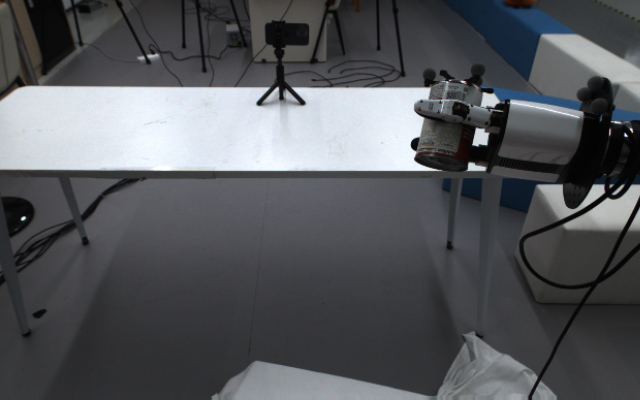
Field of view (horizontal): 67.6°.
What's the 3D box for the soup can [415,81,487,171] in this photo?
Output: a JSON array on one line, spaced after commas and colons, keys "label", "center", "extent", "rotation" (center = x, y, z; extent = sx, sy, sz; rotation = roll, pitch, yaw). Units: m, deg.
[{"label": "soup can", "center": [0.167, -0.096, 0.623], "extent": [0.067, 0.101, 0.067], "rotation": [13, -7, 2]}]
